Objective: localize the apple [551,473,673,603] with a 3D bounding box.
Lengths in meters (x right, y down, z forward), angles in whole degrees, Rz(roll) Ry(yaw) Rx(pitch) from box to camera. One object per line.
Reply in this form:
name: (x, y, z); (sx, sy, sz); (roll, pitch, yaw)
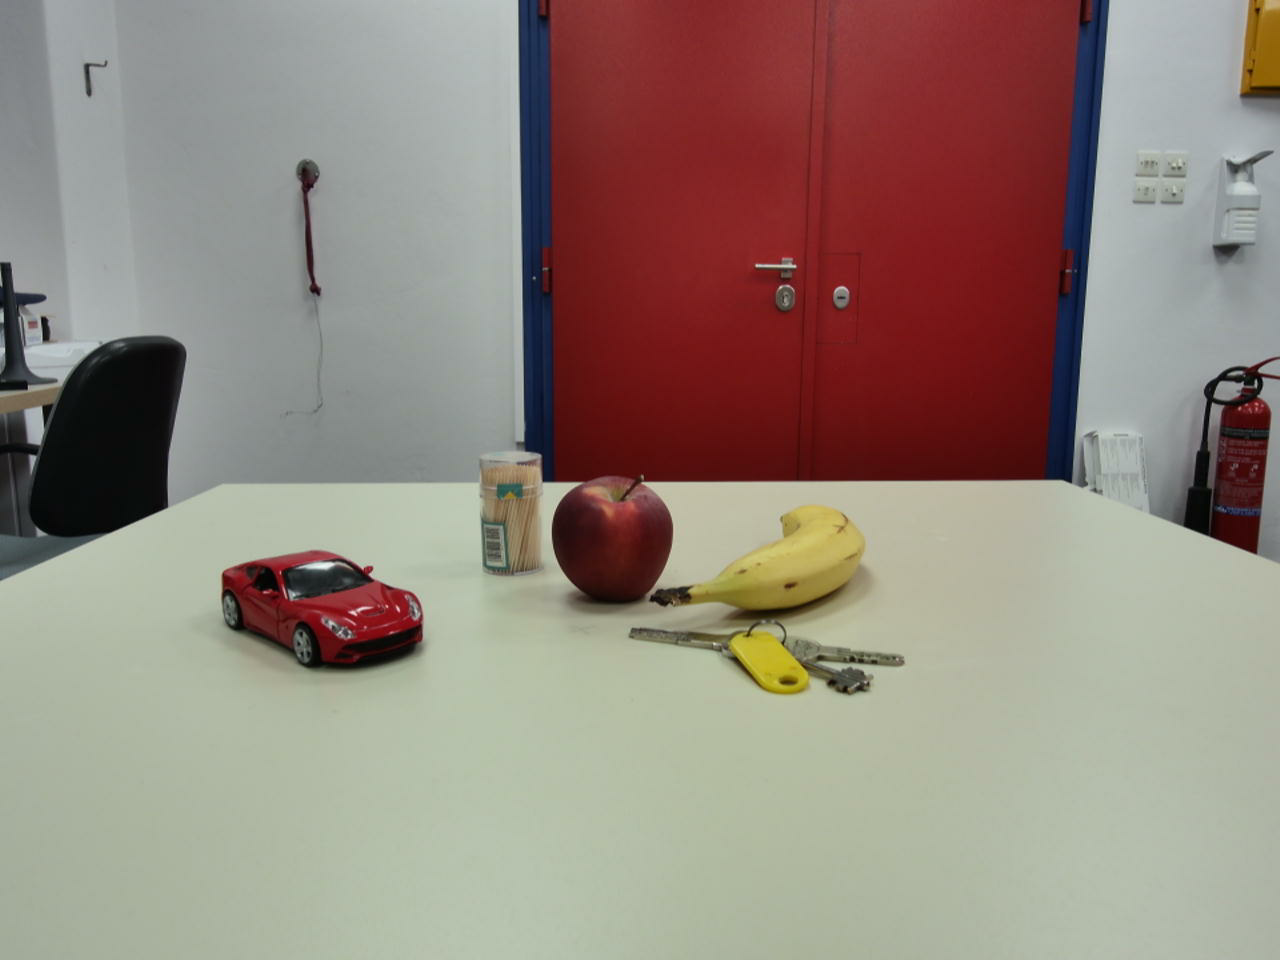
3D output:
apple: (-0.016, 0.031, 0.575); (0.070, 0.072, 0.070); (-1, 8, 0)
